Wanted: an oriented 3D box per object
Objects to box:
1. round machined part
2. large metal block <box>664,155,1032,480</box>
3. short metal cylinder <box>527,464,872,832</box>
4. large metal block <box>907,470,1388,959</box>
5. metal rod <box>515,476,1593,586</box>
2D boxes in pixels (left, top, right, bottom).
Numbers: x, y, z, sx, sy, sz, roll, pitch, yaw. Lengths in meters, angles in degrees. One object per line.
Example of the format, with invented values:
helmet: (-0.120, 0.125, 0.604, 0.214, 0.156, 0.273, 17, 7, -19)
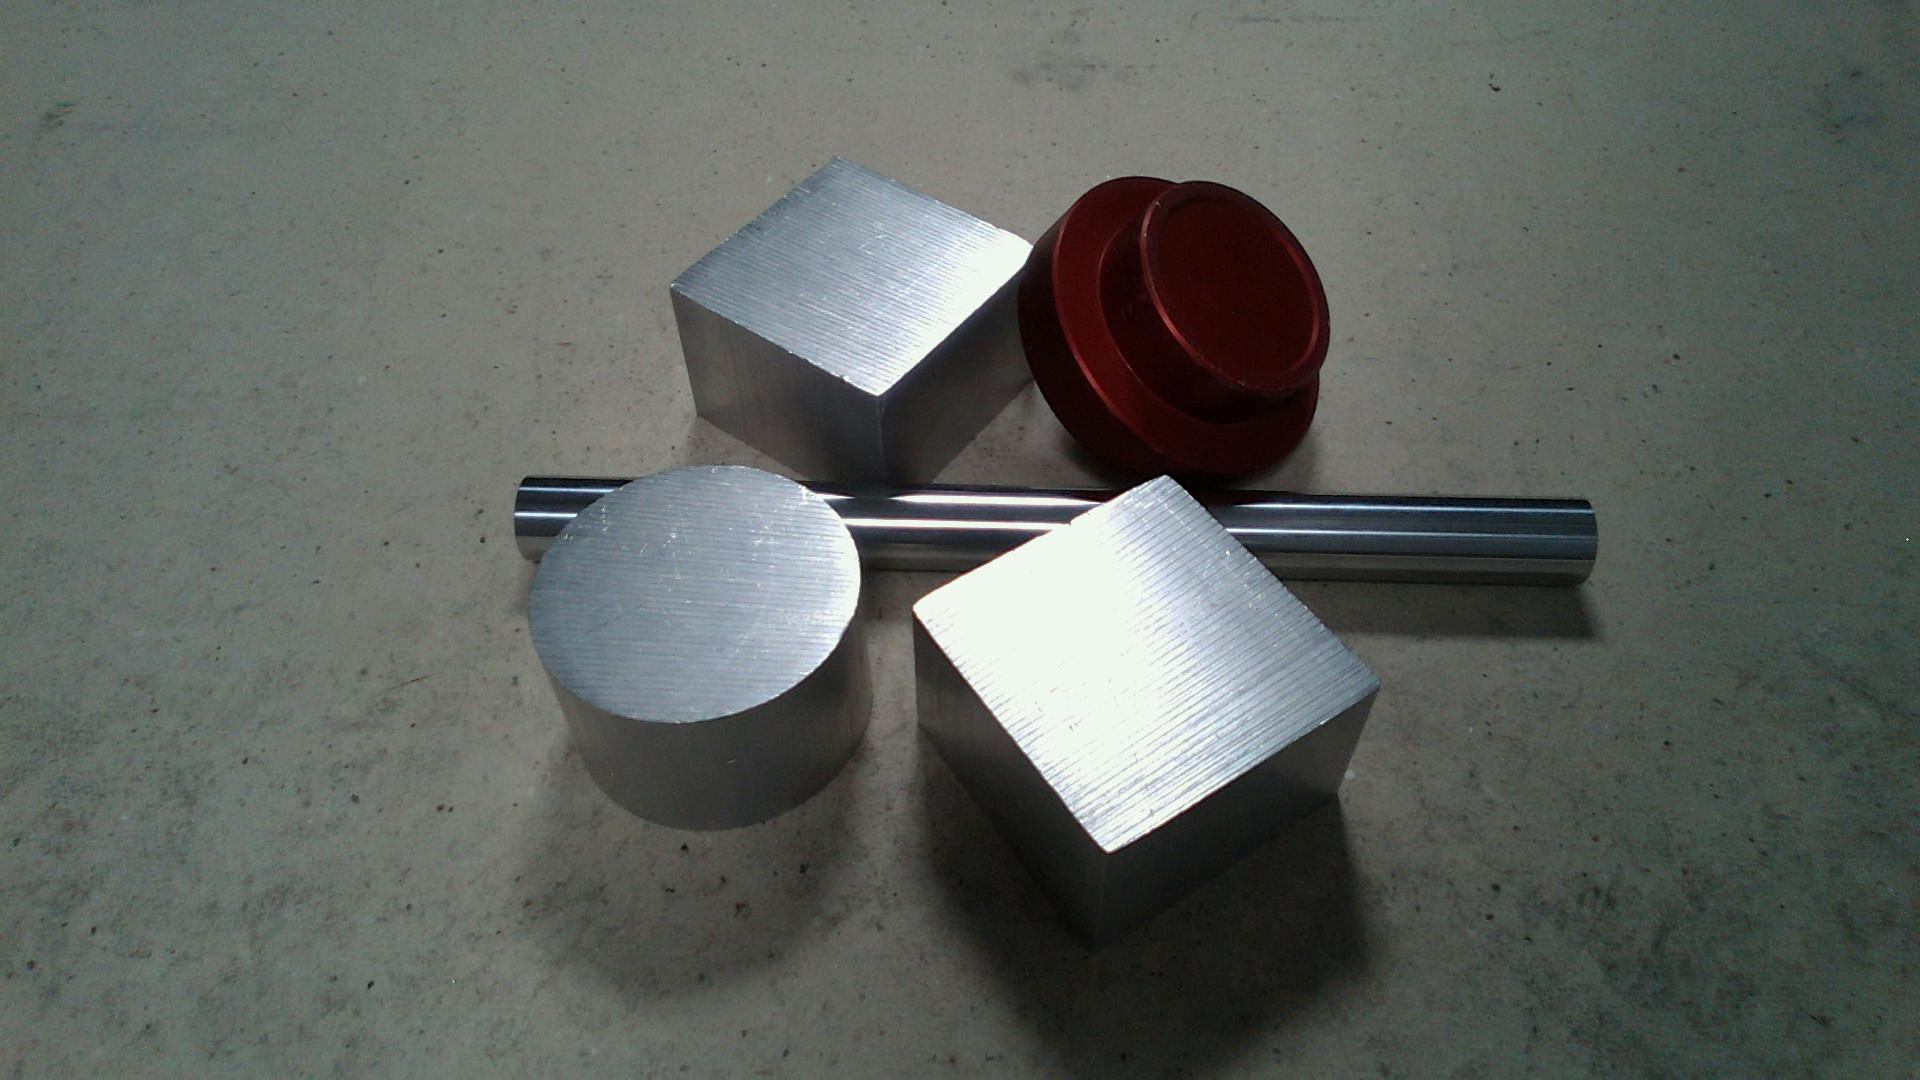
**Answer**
round machined part: (0.069, -0.066, 0.406, 0.098, 0.042, 0.098, 12, 63, -24)
large metal block: (-0.031, -0.066, 0.428, 0.080, 0.050, 0.080, 30, 56, 23)
short metal cylinder: (-0.064, 0.027, 0.353, 0.080, 0.050, 0.080, 0, 50, 0)
large metal block: (0.043, 0.040, 0.341, 0.080, 0.050, 0.080, -27, 55, -21)
metal rod: (0.025, -0.003, 0.395, 0.300, 0.025, 0.025, 1, 50, 1)
